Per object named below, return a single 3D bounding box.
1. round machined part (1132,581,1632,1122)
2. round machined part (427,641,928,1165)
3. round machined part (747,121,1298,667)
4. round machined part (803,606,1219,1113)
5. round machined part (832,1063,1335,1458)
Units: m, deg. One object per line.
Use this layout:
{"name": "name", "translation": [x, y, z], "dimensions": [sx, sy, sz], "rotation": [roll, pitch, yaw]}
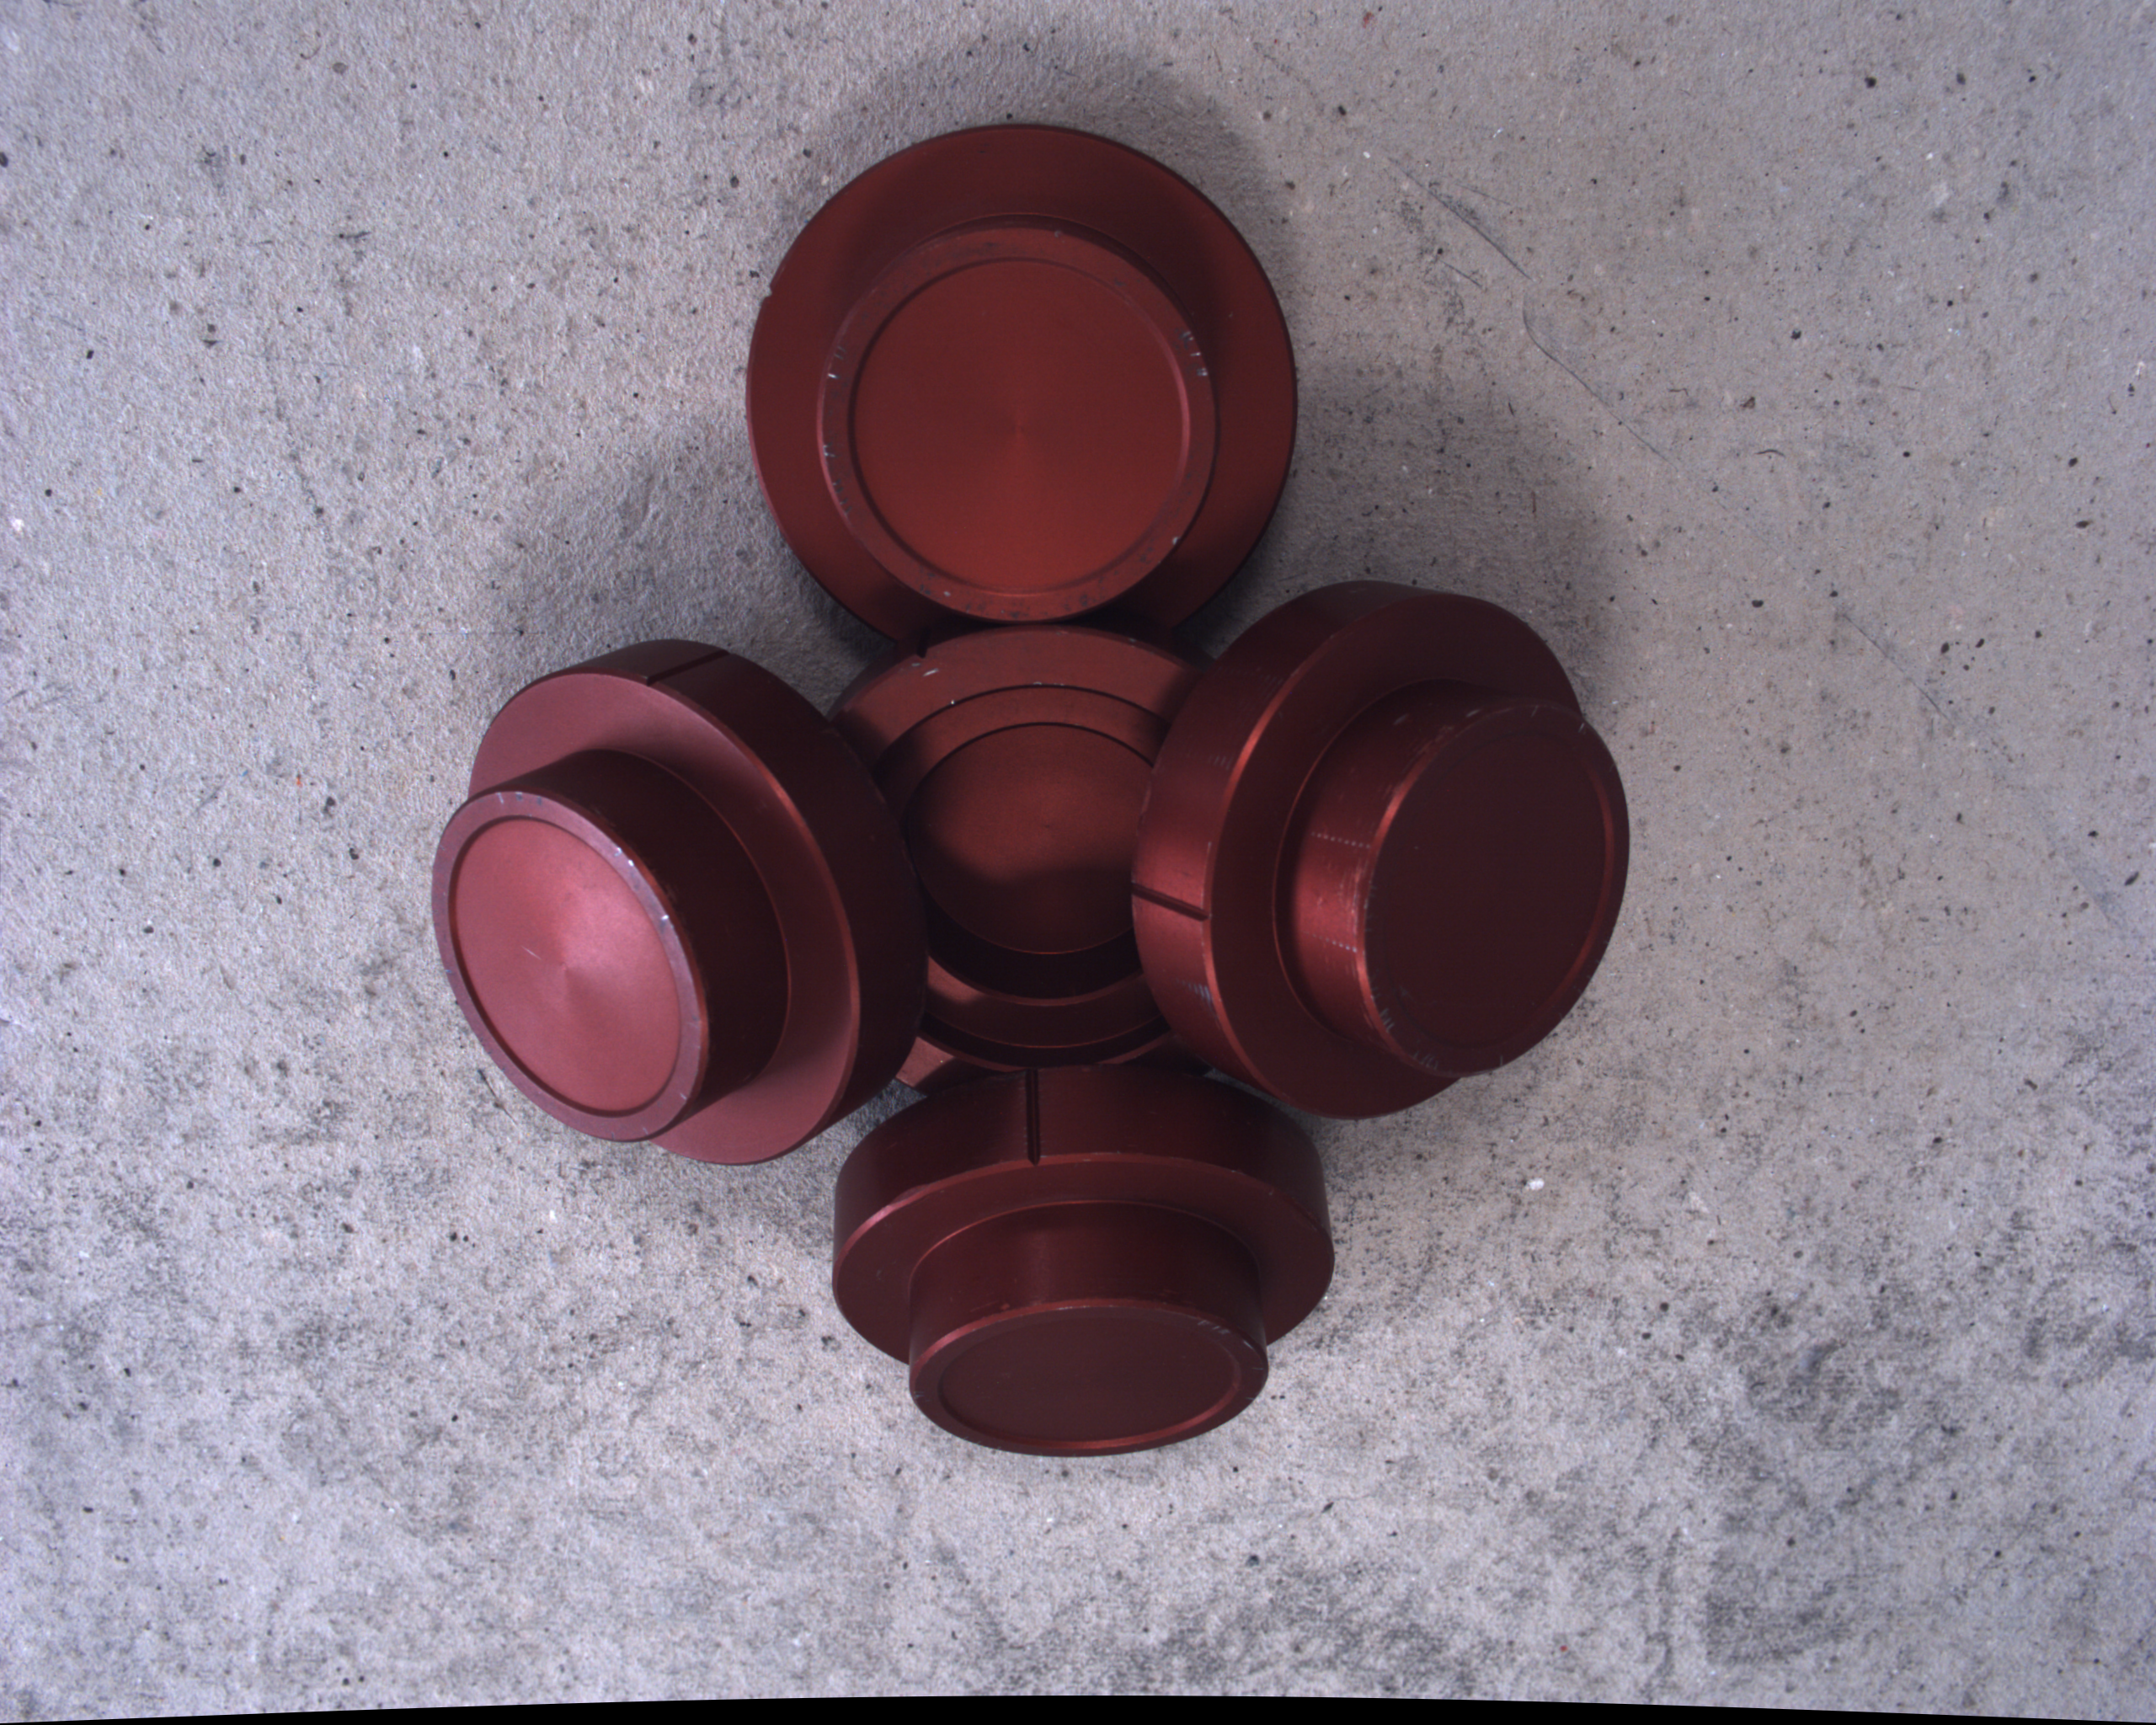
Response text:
{"name": "round machined part", "translation": [0.061, 0.001, 0.375], "dimensions": [0.099, 0.042, 0.097], "rotation": [-12, 110, -34]}
{"name": "round machined part", "translation": [-0.079, 0.012, 0.380], "dimensions": [0.098, 0.042, 0.097], "rotation": [15, 119, 30]}
{"name": "round machined part", "translation": [-0.010, -0.080, 0.372], "dimensions": [0.099, 0.042, 0.097], "rotation": [0, 109, 0]}
{"name": "round machined part", "translation": [-0.005, -0.003, 0.401], "dimensions": [0.099, 0.042, 0.097], "rotation": [1, 109, 2]}
{"name": "round machined part", "translation": [0.001, 0.083, 0.410], "dimensions": [0.099, 0.042, 0.097], "rotation": [-2, 141, -1]}
